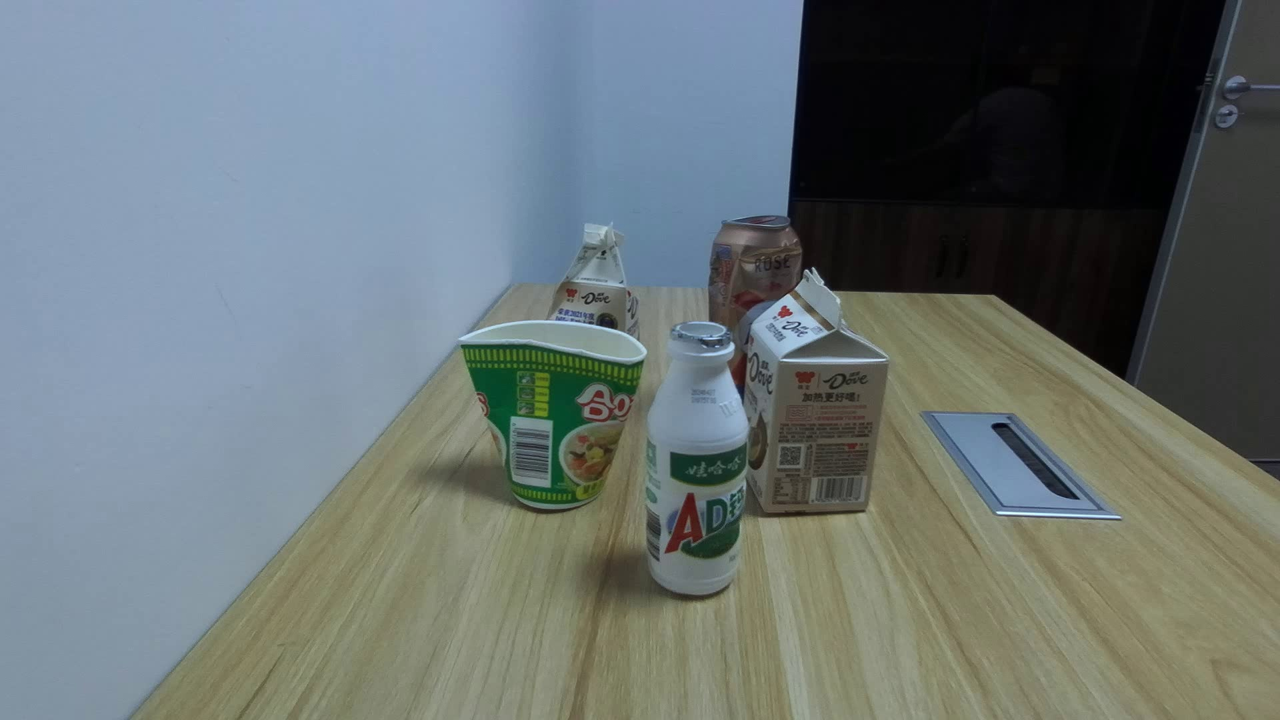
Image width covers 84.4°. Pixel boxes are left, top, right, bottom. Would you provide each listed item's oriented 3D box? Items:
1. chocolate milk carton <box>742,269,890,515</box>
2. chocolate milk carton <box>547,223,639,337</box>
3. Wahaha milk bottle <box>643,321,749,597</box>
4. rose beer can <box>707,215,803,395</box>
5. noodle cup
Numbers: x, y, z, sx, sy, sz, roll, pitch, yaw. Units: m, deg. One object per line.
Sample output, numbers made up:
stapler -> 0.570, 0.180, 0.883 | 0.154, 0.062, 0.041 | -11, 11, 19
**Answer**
chocolate milk carton -> 0.114, 0.018, 0.468 | 0.074, 0.148, 0.075 | 0, 20, -4
chocolate milk carton -> -0.037, -0.051, 0.639 | 0.073, 0.155, 0.076 | 8, 24, 12
Wahaha milk bottle -> 0.031, 0.053, 0.380 | 0.056, 0.148, 0.056 | -1, 21, 1
rose beer can -> 0.095, -0.029, 0.576 | 0.076, 0.167, 0.065 | -6, 8, -17
noodle cup -> -0.054, 0.035, 0.471 | 0.114, 0.111, 0.070 | 17, 29, 35
